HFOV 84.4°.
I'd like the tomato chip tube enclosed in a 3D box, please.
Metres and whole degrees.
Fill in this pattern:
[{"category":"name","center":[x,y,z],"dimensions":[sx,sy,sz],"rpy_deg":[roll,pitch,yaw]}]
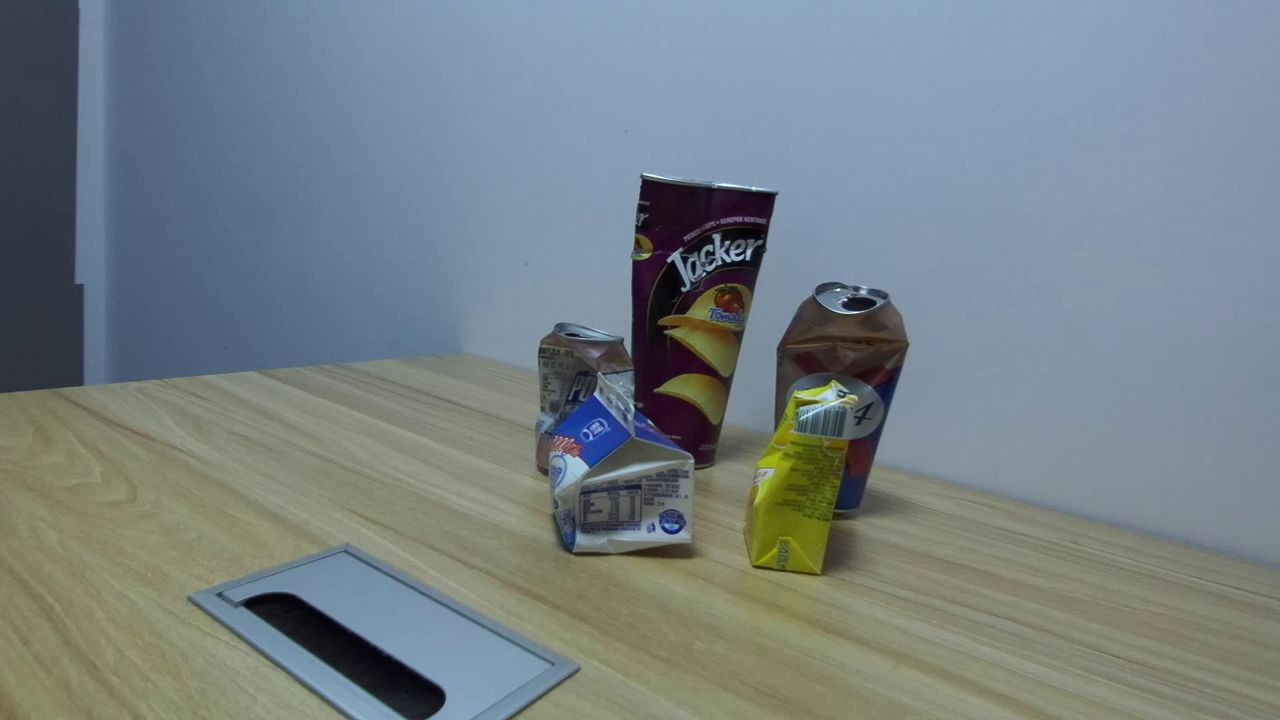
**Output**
[{"category":"tomato chip tube","center":[0.040,-0.030,0.589],"dimensions":[0.089,0.235,0.078],"rpy_deg":[16,14,31]}]

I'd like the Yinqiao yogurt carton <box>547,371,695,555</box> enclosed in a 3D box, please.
[{"category":"Yinqiao yogurt carton","center":[-0.016,0.061,0.425],"dimensions":[0.080,0.097,0.074],"rpy_deg":[-5,14,-16]}]

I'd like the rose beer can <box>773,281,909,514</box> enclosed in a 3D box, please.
[{"category":"rose beer can","center":[0.142,0.029,0.519],"dimensions":[0.069,0.168,0.069],"rpy_deg":[-2,19,-21]}]

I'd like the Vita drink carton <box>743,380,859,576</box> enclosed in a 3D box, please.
[{"category":"Vita drink carton","center":[0.094,0.066,0.433],"dimensions":[0.046,0.109,0.071],"rpy_deg":[10,9,2]}]

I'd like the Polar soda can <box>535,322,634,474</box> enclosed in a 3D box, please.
[{"category":"Polar soda can","center":[-0.041,0.032,0.533],"dimensions":[0.074,0.114,0.070],"rpy_deg":[1,16,-11]}]
